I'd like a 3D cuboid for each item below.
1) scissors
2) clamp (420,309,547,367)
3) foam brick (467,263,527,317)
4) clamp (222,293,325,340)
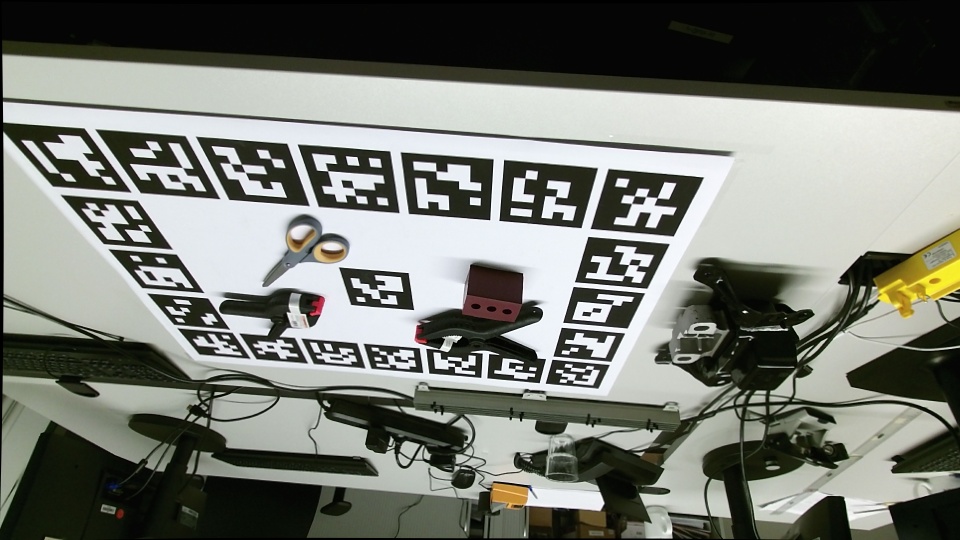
[{"bbox_3d":[-0.256,-0.013,0.758,0.088,0.016,0.203,37,134,-22],"label":"scissors"},{"bbox_3d":[0.004,0.108,0.865,0.203,0.036,0.165,2,144,6],"label":"clamp"},{"bbox_3d":[0.023,0.028,0.755,0.078,0.051,0.053,6,140,-7],"label":"foam brick"},{"bbox_3d":[-0.322,0.076,0.872,0.165,0.036,0.122,-15,130,23],"label":"clamp"}]
